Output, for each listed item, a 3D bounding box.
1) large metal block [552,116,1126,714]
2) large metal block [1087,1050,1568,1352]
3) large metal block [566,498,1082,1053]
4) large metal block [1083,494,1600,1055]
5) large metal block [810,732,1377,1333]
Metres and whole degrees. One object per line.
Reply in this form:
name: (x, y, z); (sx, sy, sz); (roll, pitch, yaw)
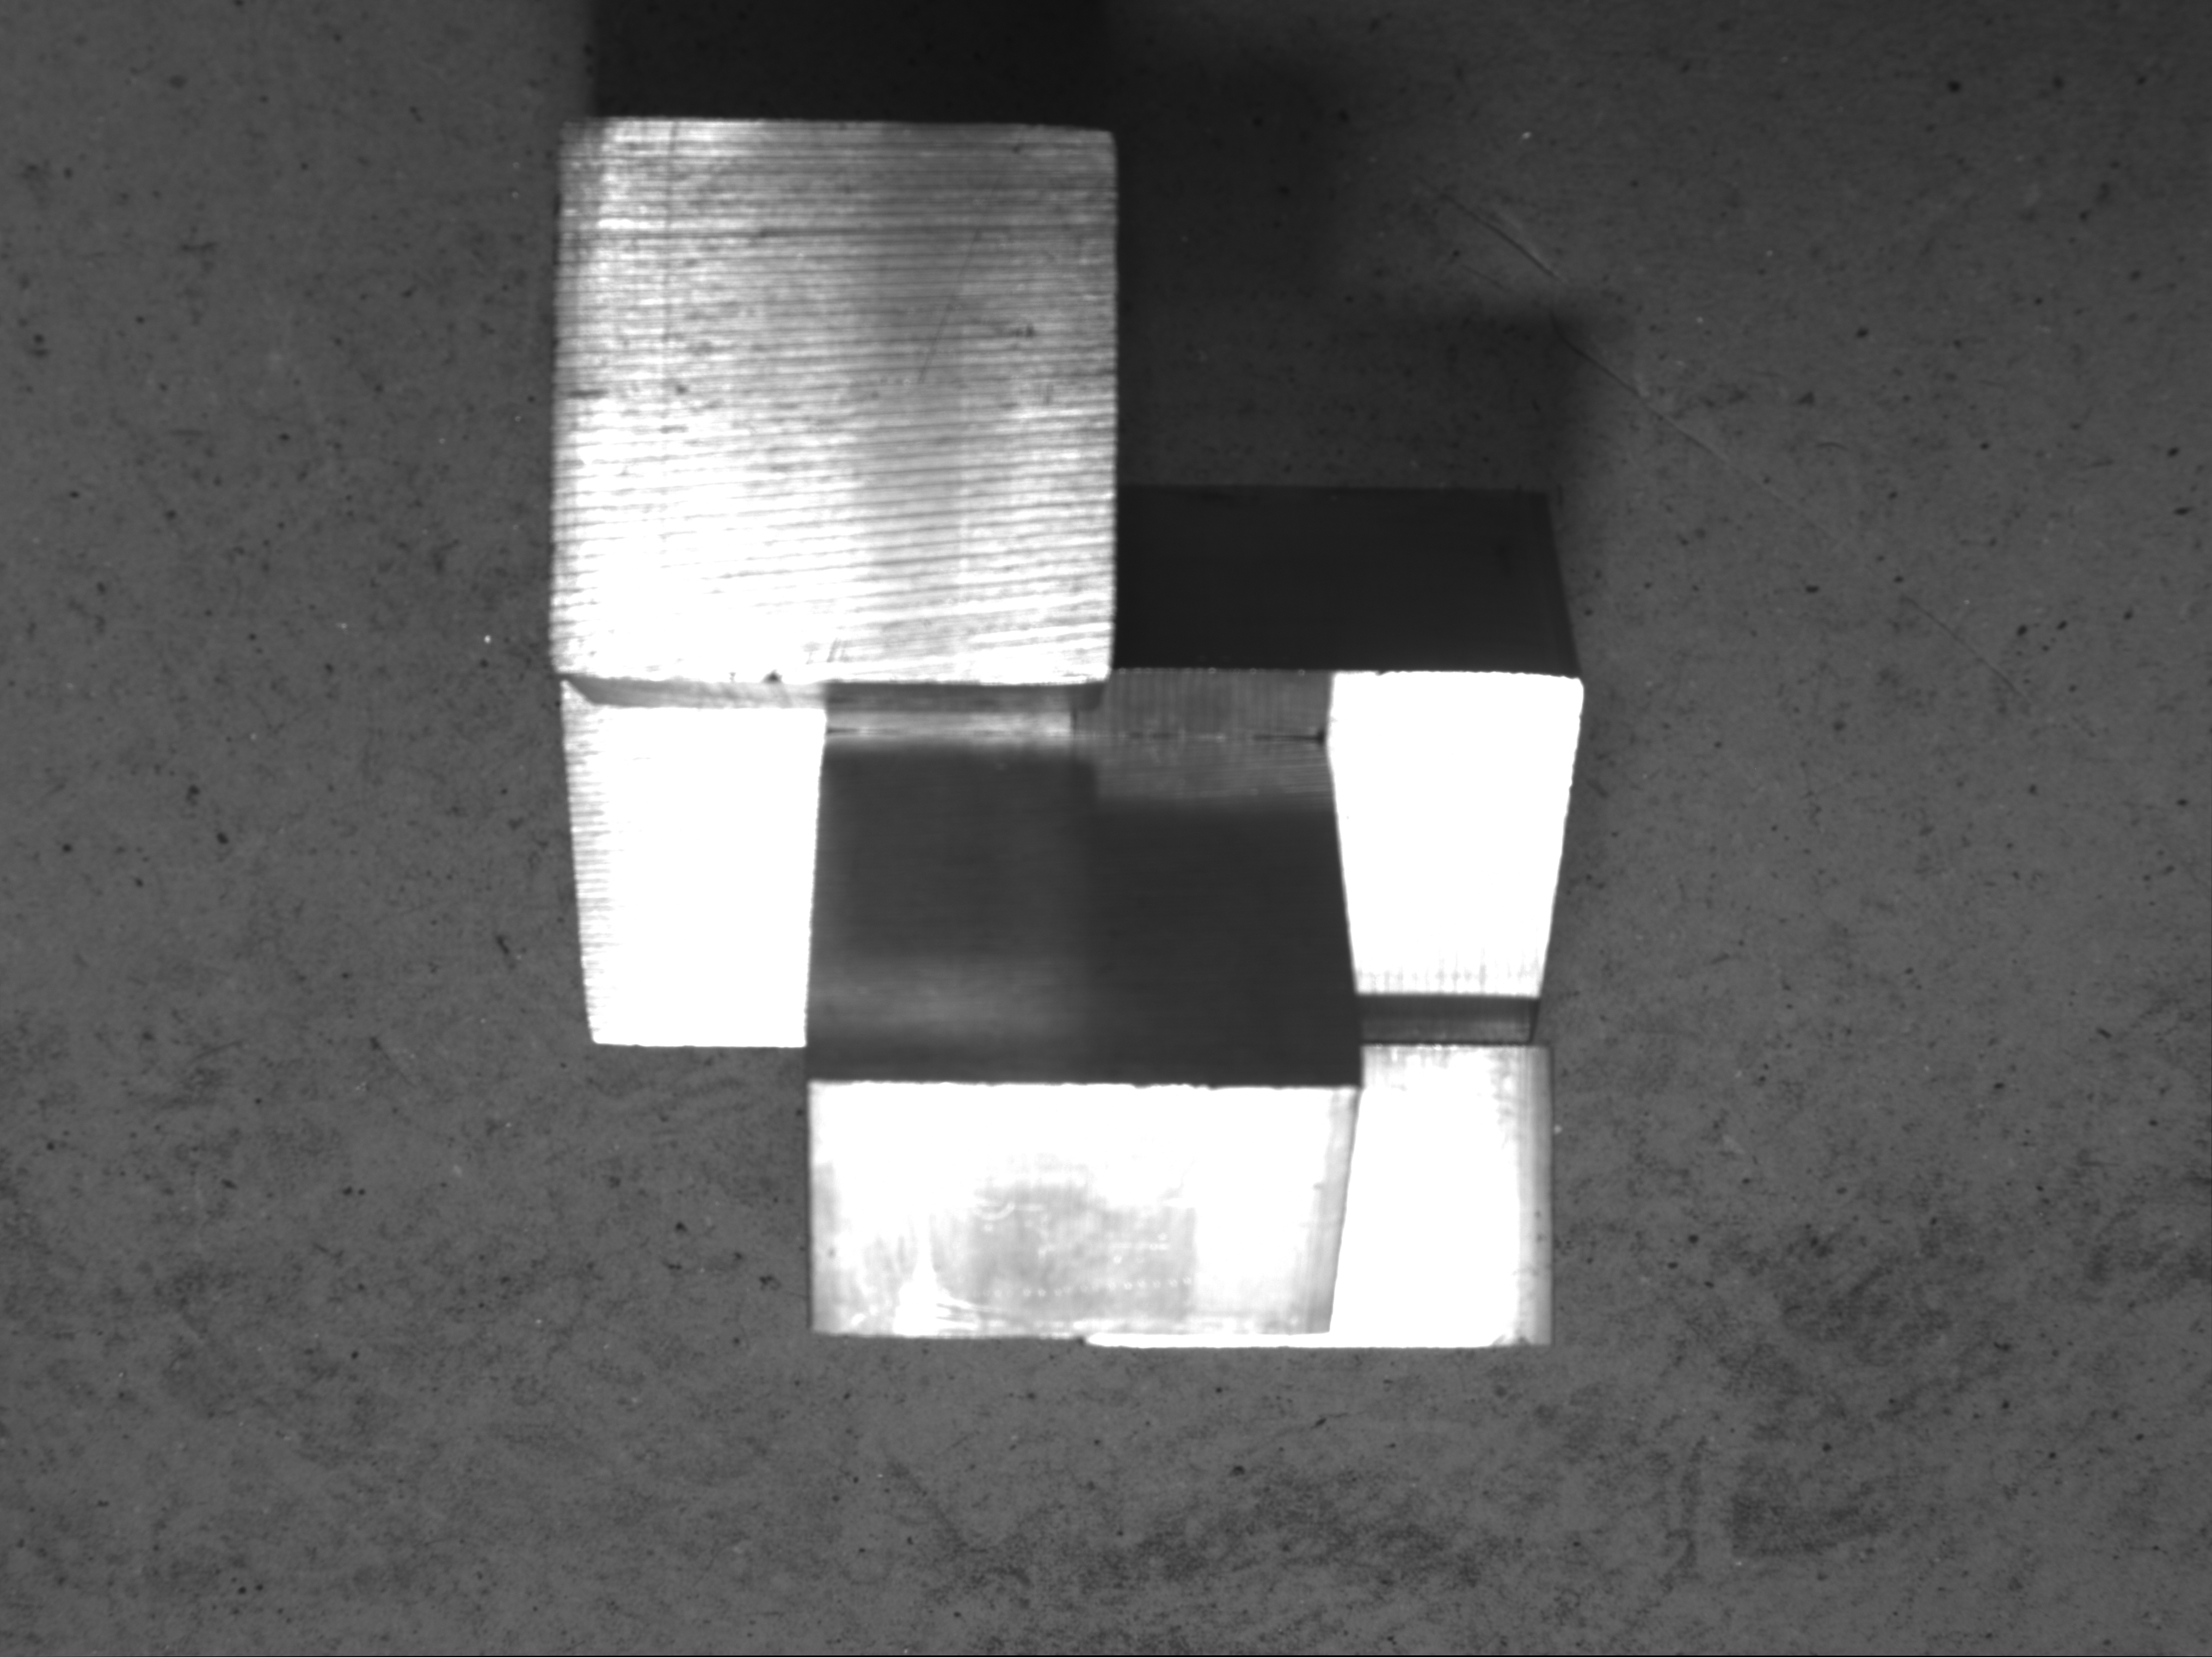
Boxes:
large metal block: (-0.038, -0.059, 0.544); (0.080, 0.050, 0.080); (1, 86, -2)
large metal block: (0.036, 0.065, 0.650); (0.080, 0.080, 0.050); (0, 86, -2)
large metal block: (-0.045, -0.009, 0.611); (0.080, 0.050, 0.080); (1, 130, -2)
large metal block: (0.035, -0.008, 0.614); (0.080, 0.050, 0.080); (1, 130, -2)
large metal block: (-0.003, 0.030, 0.563); (0.080, 0.080, 0.050); (1, 130, -3)
